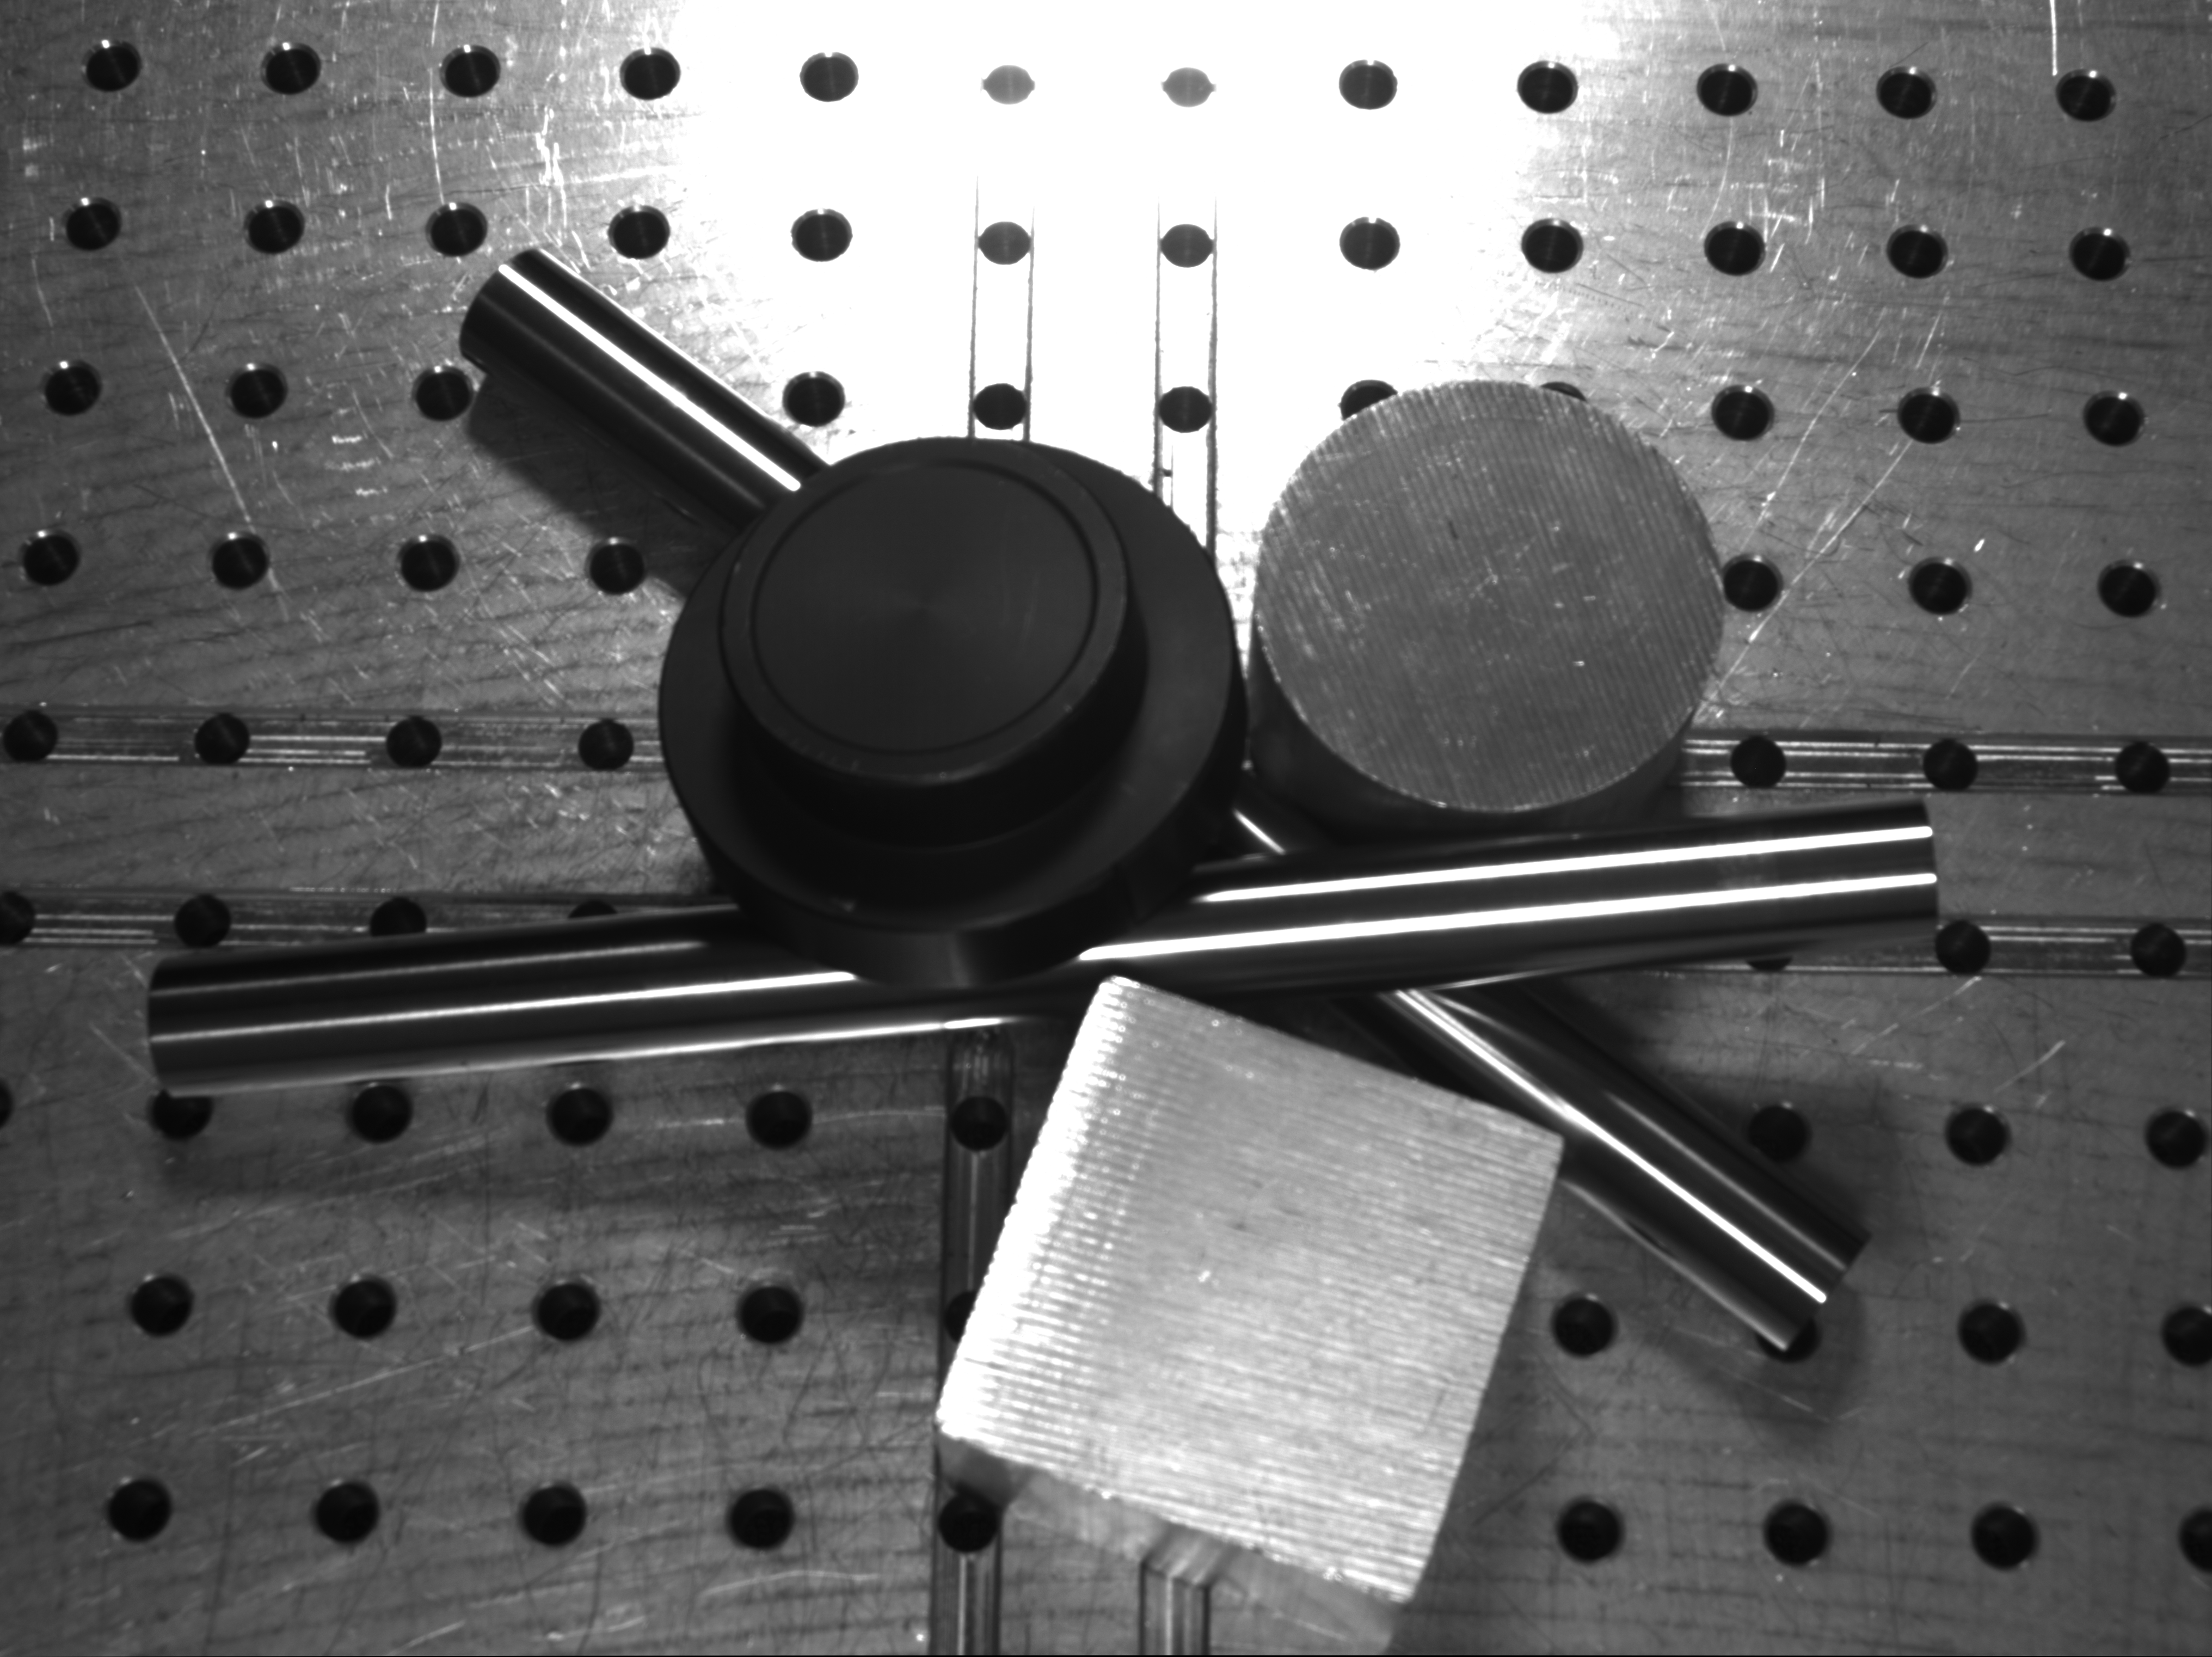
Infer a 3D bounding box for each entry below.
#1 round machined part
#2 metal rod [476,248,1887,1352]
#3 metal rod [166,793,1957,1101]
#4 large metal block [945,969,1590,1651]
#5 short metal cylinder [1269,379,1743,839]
[{"bbox_3d":[-0.024,-0.025,0.612,0.098,0.042,0.098,-3,61,5],"label":"round machined part"},{"bbox_3d":[0.008,-0.009,0.651,0.300,0.025,0.025,37,74,12],"label":"metal rod"},{"bbox_3d":[-0.010,0.021,0.620,0.300,0.025,0.025,-5,70,6],"label":"metal rod"},{"bbox_3d":[0.026,0.080,0.602,0.080,0.050,0.080,19,71,7],"label":"large metal block"},{"bbox_3d":[0.068,-0.032,0.645,0.080,0.050,0.080,0,70,0],"label":"short metal cylinder"}]
